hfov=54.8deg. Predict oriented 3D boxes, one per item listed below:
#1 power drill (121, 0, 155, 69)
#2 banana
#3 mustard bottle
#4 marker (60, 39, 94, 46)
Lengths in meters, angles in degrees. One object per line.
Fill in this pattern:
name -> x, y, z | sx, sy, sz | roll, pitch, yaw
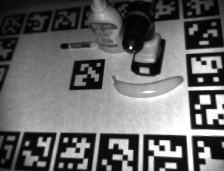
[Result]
power drill -> 0.073, -0.121, 0.553 | 0.057, 0.188, 0.184 | 13, 69, 18
banana -> 0.080, -0.003, 0.610 | 0.195, 0.039, 0.074 | 6, 71, 18
mustard bottle -> -0.019, -0.172, 0.616 | 0.095, 0.193, 0.058 | 9, 70, 17
marker -> -0.119, -0.145, 0.726 | 0.120, 0.020, 0.019 | 1, 69, 14
